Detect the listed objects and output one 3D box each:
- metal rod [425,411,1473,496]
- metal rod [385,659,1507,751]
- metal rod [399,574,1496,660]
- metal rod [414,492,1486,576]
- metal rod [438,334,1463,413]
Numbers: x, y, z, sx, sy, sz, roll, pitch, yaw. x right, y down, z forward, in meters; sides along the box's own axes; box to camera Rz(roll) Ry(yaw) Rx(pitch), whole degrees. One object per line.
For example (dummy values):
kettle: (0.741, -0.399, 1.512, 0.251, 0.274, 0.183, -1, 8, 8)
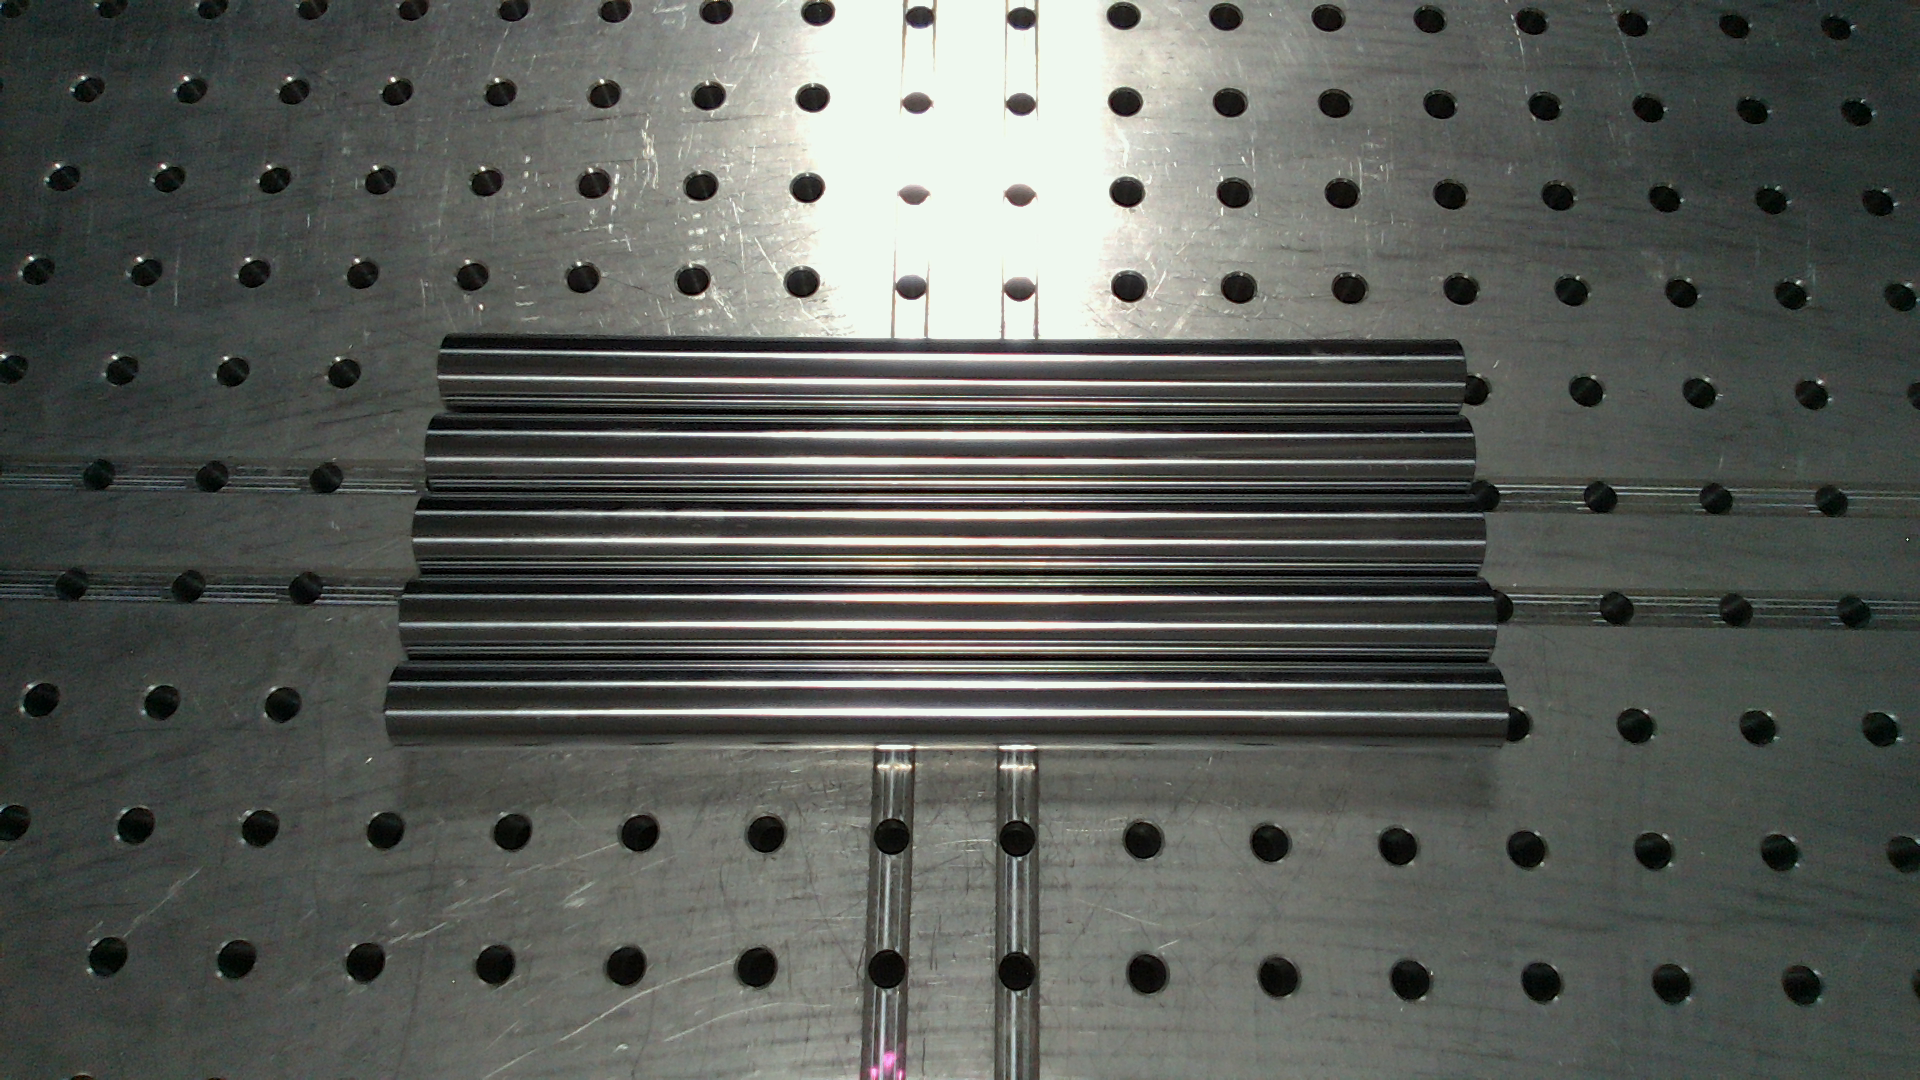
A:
metal rod: (-0.003, -0.025, 0.406, 0.300, 0.025, 0.025, 0, 70, 0)
metal rod: (-0.003, 0.046, 0.380, 0.300, 0.025, 0.025, 0, 70, 0)
metal rod: (-0.003, 0.023, 0.388, 0.300, 0.025, 0.025, 0, 70, 0)
metal rod: (-0.003, -0.001, 0.397, 0.300, 0.025, 0.025, 0, 70, 0)
metal rod: (-0.003, -0.049, 0.415, 0.300, 0.025, 0.025, 0, 70, 0)
